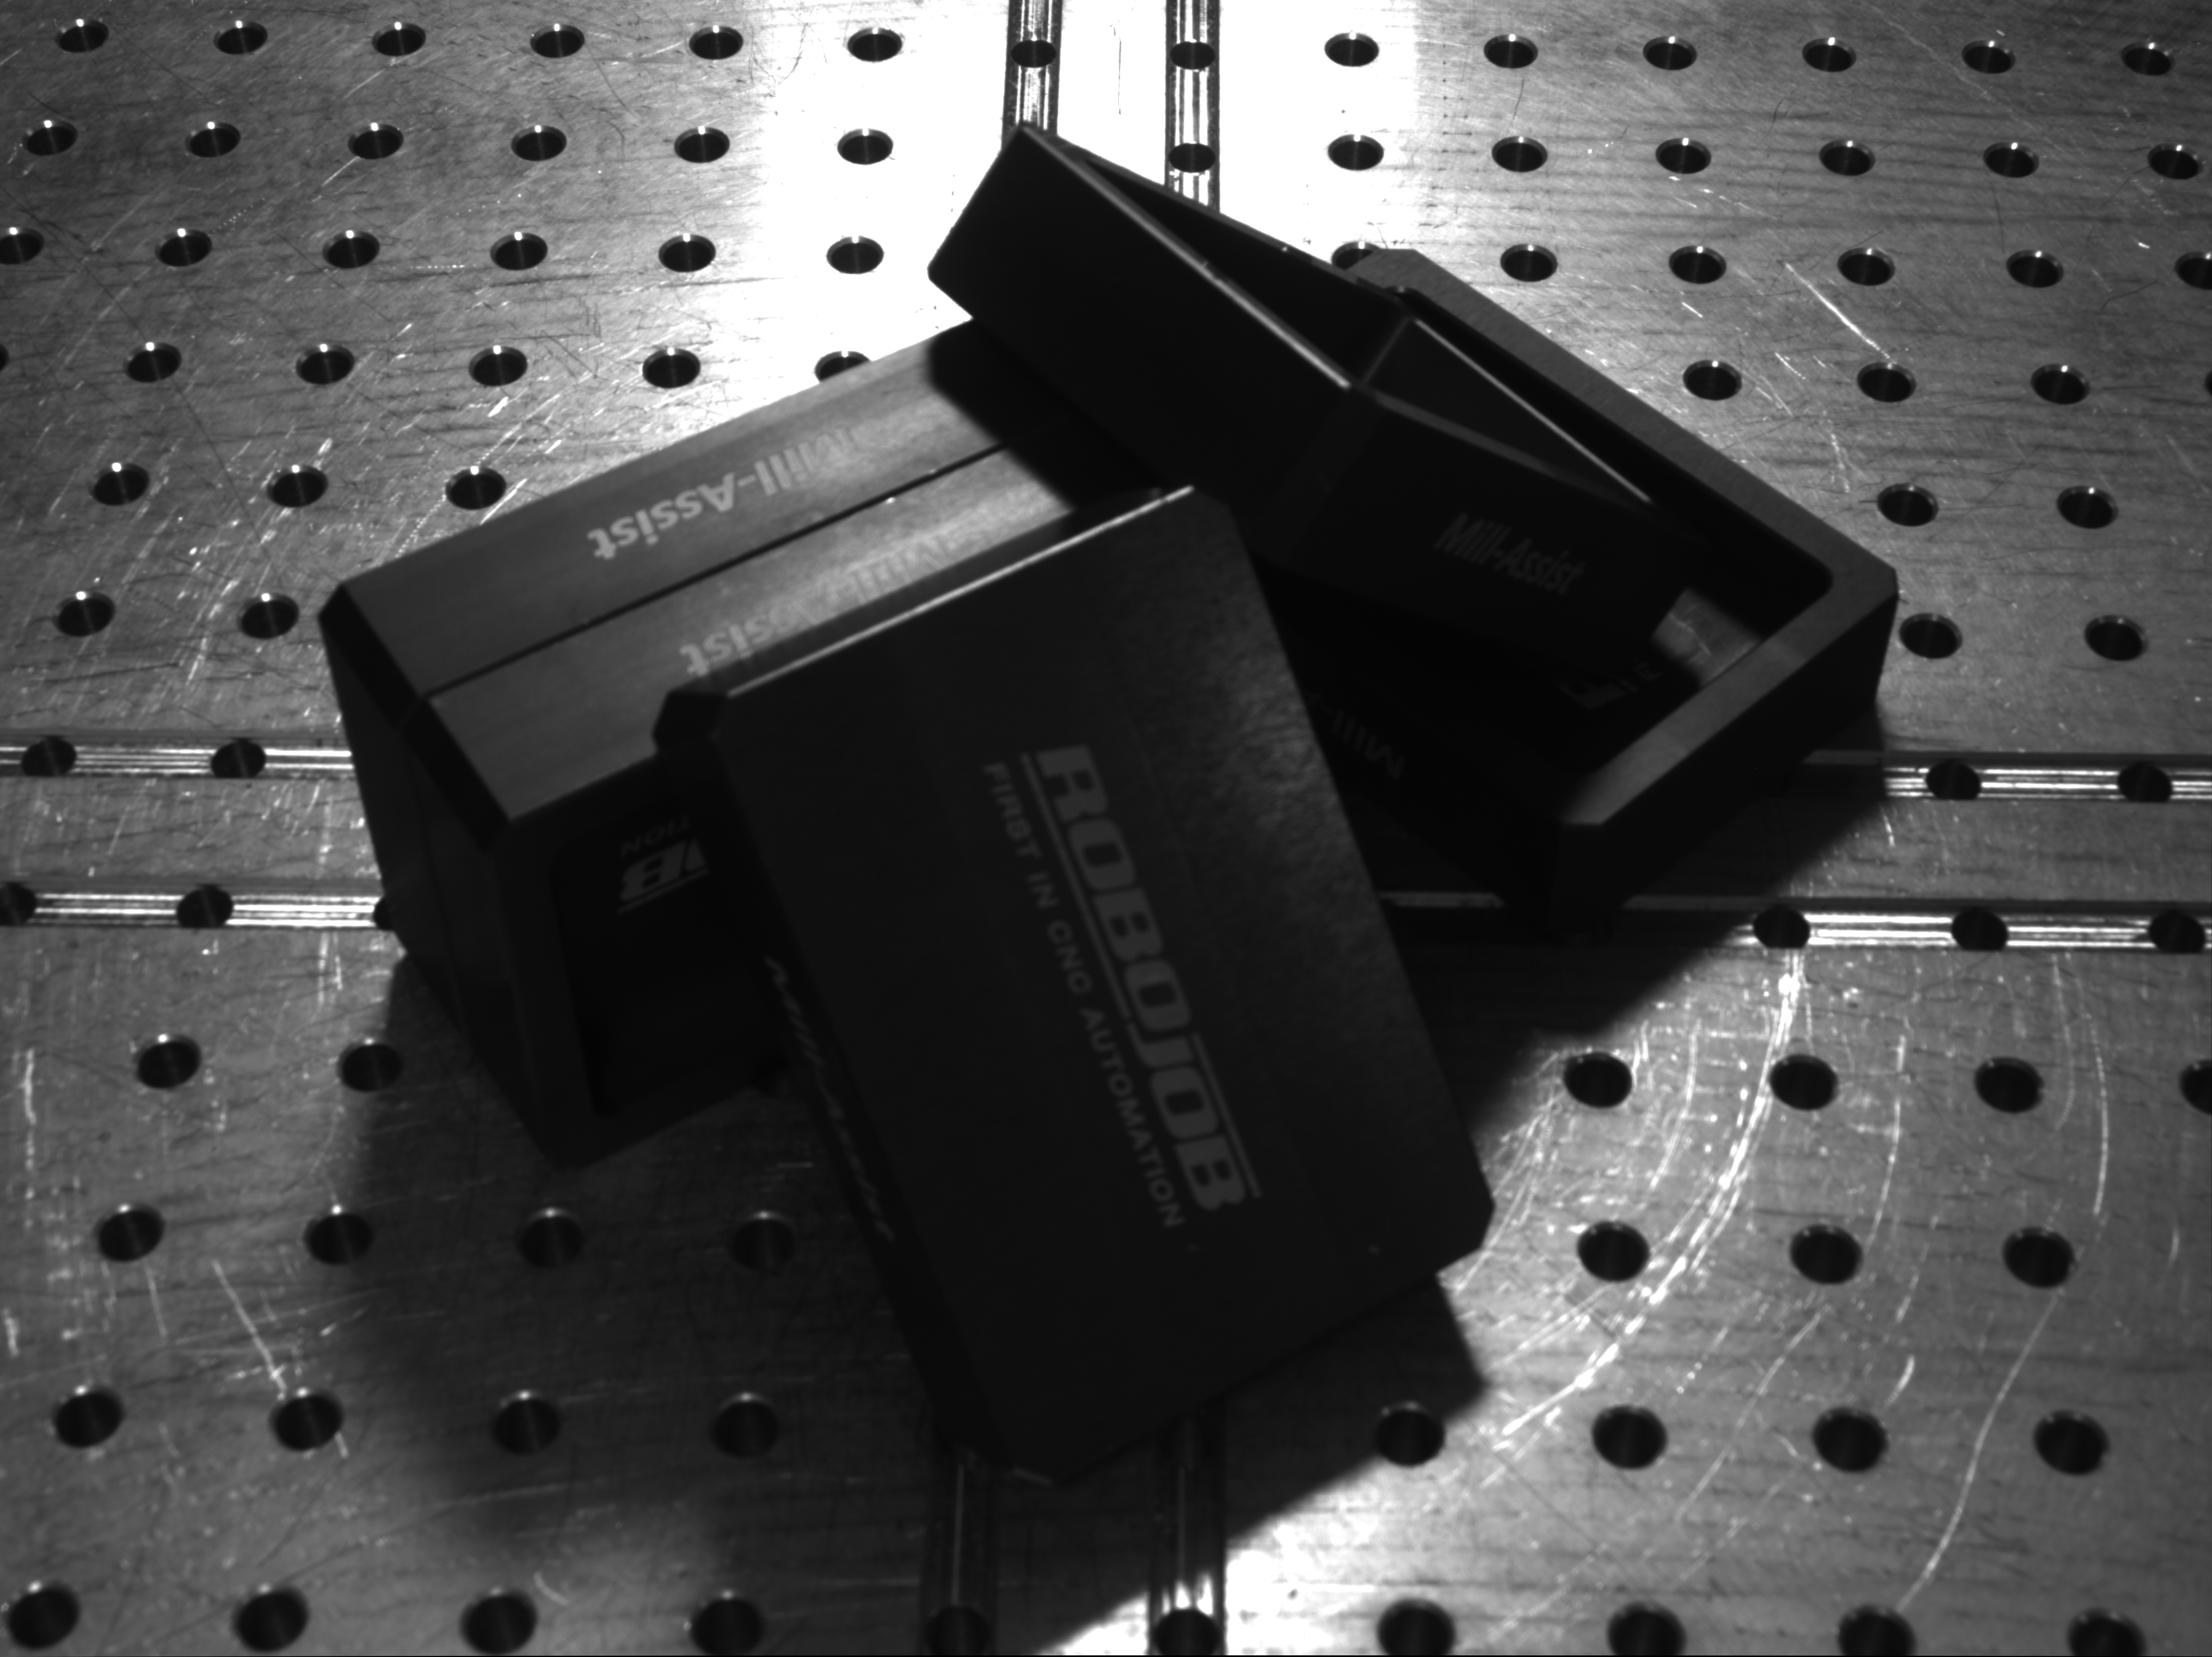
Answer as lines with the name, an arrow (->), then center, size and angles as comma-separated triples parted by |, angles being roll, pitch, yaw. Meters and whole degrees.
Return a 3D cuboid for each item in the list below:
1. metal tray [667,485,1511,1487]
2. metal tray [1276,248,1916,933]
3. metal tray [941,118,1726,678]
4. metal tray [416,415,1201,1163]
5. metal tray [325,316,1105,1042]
metal tray -> -0.001, 0.023, 0.565 | 0.090, 0.130, 0.030 | -26, 13, -20
metal tray -> 0.072, -0.048, 0.681 | 0.090, 0.030, 0.130 | -36, 58, -26
metal tray -> 0.042, -0.072, 0.632 | 0.090, 0.030, 0.130 | 43, 17, 30
metal tray -> -0.043, -0.007, 0.606 | 0.130, 0.090, 0.030 | -26, 54, -20
metal tray -> -0.061, -0.025, 0.623 | 0.130, 0.090, 0.030 | -26, 54, -20
